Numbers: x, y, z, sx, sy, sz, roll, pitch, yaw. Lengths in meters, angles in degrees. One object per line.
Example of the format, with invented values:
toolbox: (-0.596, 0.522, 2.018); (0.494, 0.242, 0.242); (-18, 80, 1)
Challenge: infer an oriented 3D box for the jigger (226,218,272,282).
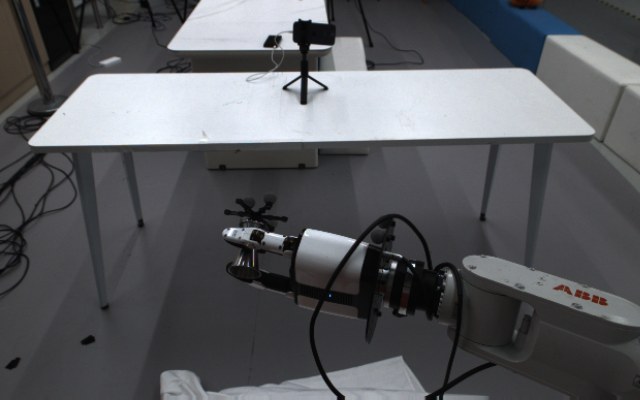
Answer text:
jigger: (-0.098, 0.065, 0.649); (0.043, 0.043, 0.071); (6, 60, 5)
